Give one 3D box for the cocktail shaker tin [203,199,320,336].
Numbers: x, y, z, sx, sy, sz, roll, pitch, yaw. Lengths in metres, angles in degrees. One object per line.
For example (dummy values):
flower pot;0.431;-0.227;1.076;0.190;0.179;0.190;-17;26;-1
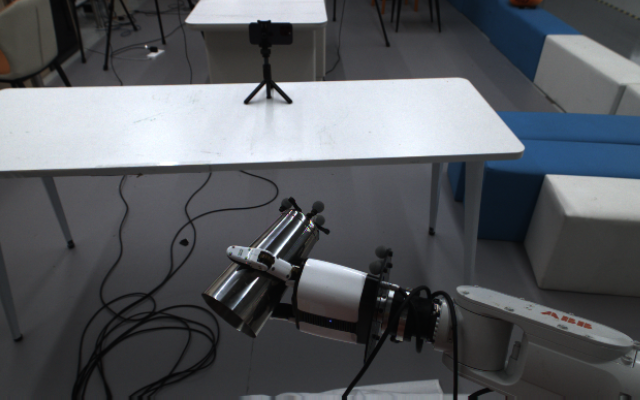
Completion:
cocktail shaker tin;-0.075;0.090;0.677;0.093;0.093;0.170;23;57;27
